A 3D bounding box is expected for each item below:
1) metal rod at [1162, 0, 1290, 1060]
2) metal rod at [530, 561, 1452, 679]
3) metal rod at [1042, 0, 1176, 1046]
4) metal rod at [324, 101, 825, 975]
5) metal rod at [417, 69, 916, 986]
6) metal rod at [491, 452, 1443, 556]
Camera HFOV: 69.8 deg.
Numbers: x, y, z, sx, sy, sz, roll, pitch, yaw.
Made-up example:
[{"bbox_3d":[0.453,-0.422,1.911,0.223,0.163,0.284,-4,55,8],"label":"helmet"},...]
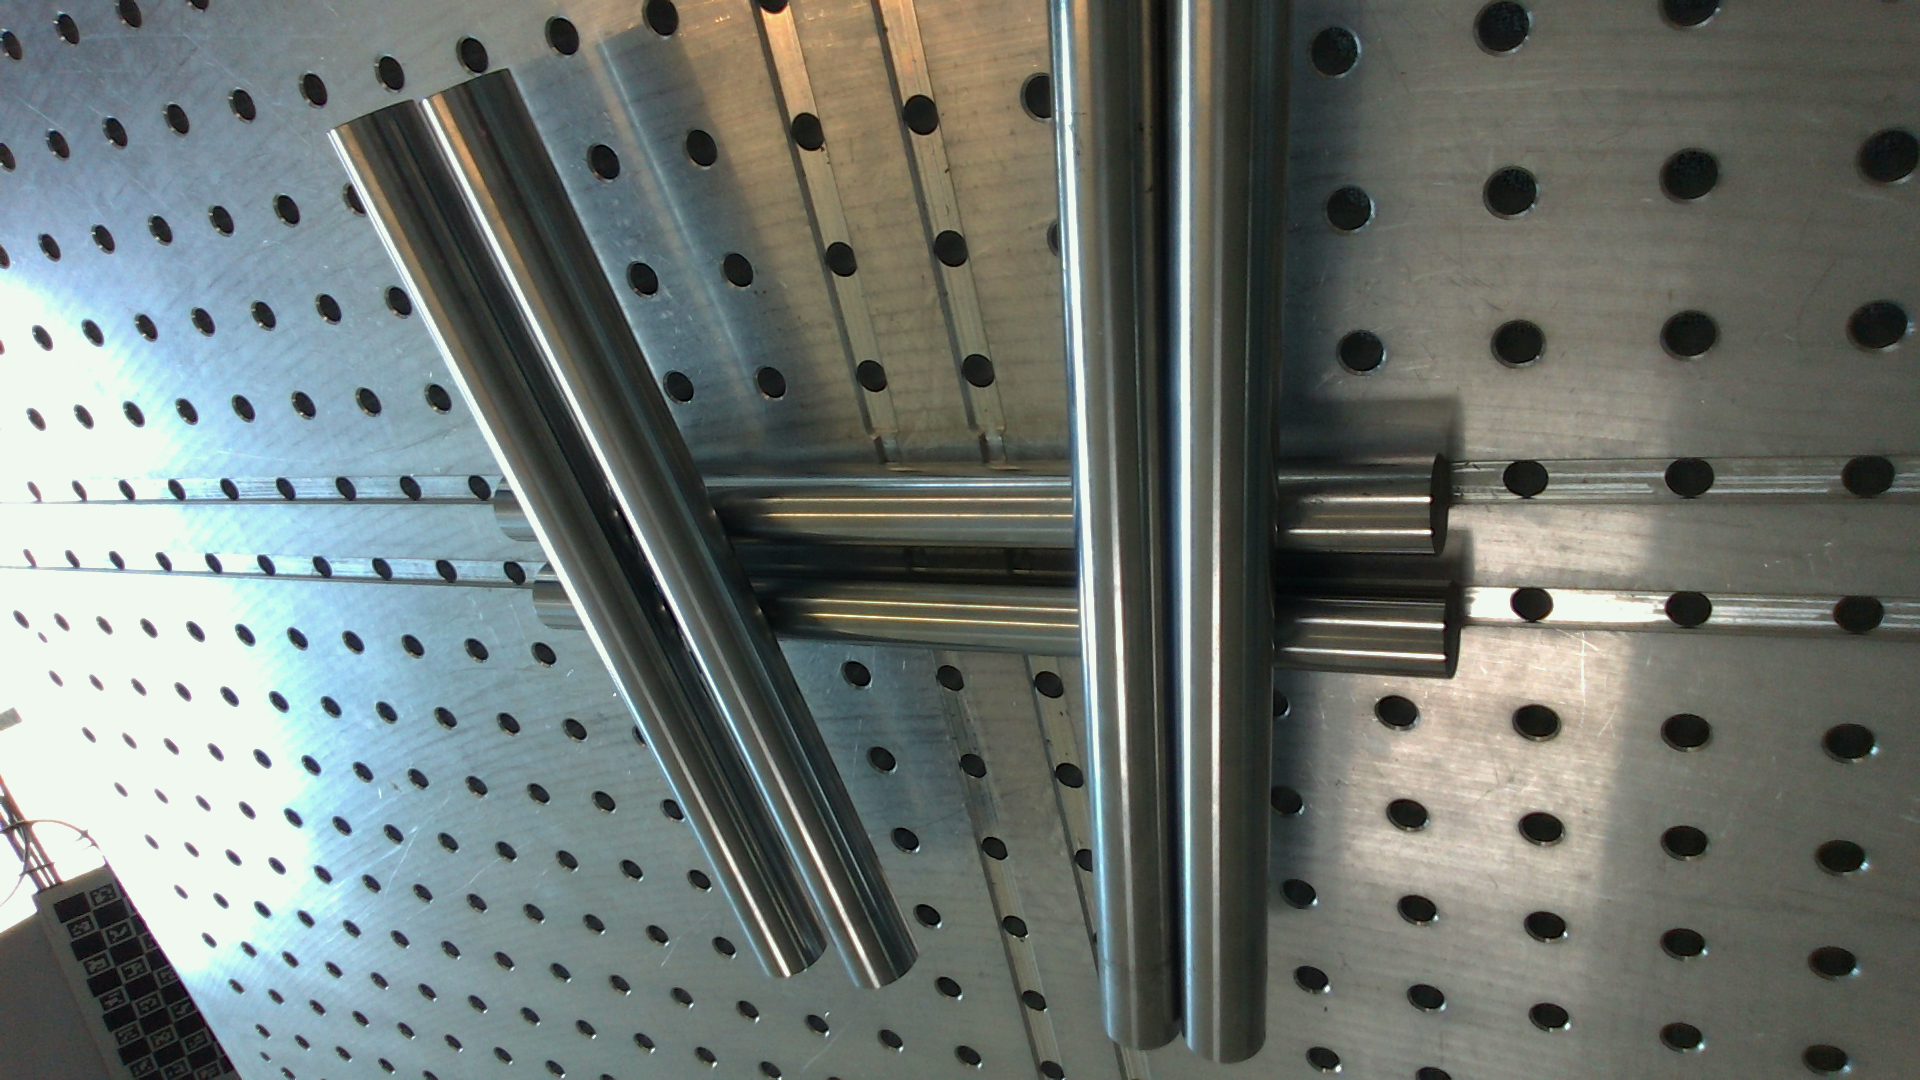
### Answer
[{"bbox_3d":[0.065,0.016,0.340,0.025,0.025,0.300,9,122,24],"label":"metal rod"},{"bbox_3d":[-0.010,0.020,0.415,0.299,0.025,0.025,1,119,28],"label":"metal rod"},{"bbox_3d":[0.042,0.016,0.352,0.025,0.025,0.300,9,122,24],"label":"metal rod"},{"bbox_3d":[-0.111,0.014,0.433,0.025,0.025,0.300,-8,114,32],"label":"metal rod"},{"bbox_3d":[-0.079,0.011,0.414,0.025,0.025,0.300,-8,114,32],"label":"metal rod"},{"bbox_3d":[-0.018,-0.011,0.400,0.299,0.025,0.025,1,119,28],"label":"metal rod"}]
